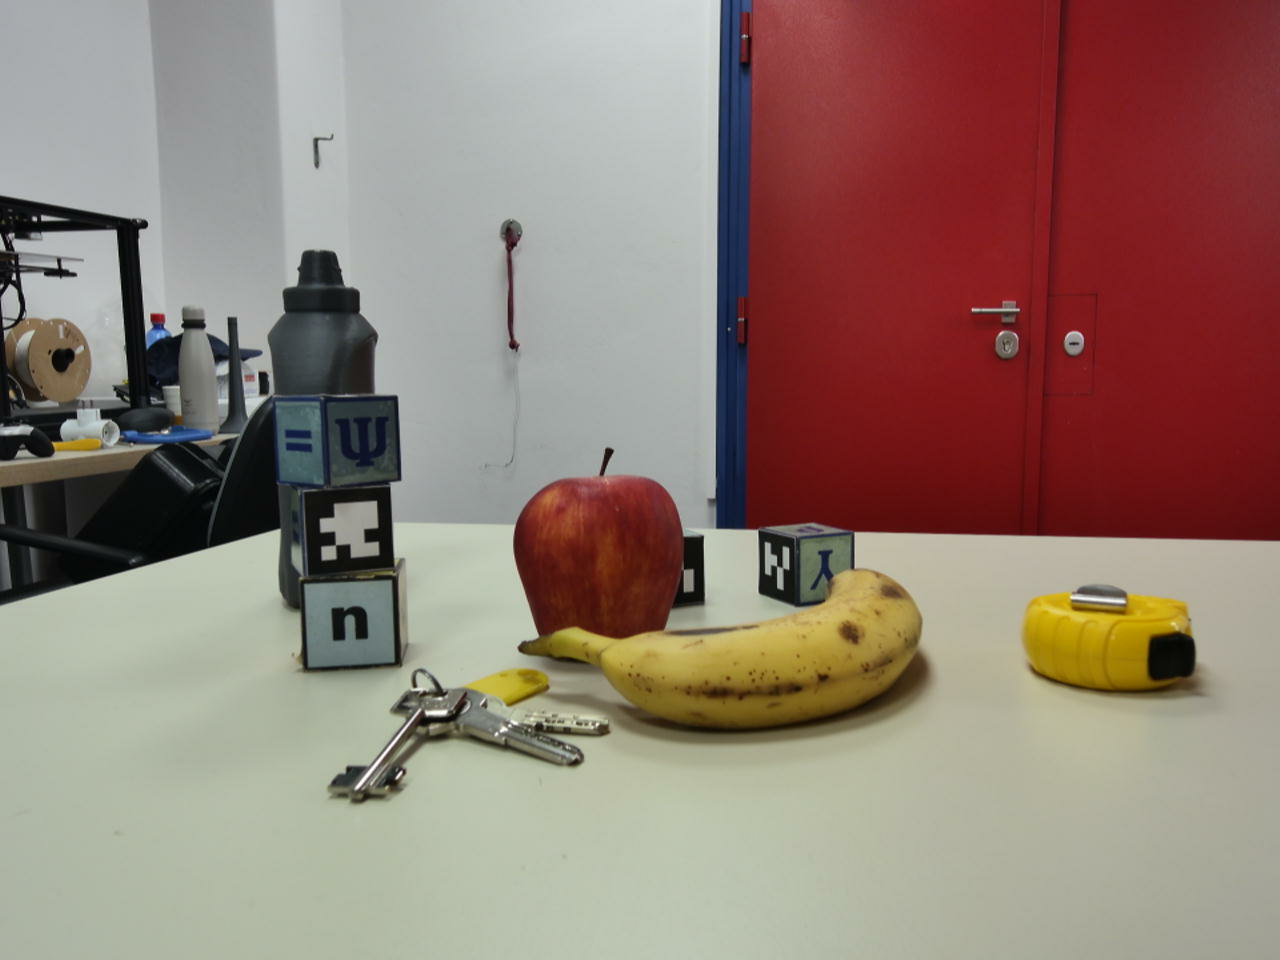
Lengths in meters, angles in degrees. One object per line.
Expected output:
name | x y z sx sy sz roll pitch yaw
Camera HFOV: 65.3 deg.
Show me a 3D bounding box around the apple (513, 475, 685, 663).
apple | -0.019 0.031 0.443 0.083 0.090 0.083 -2 4 0
